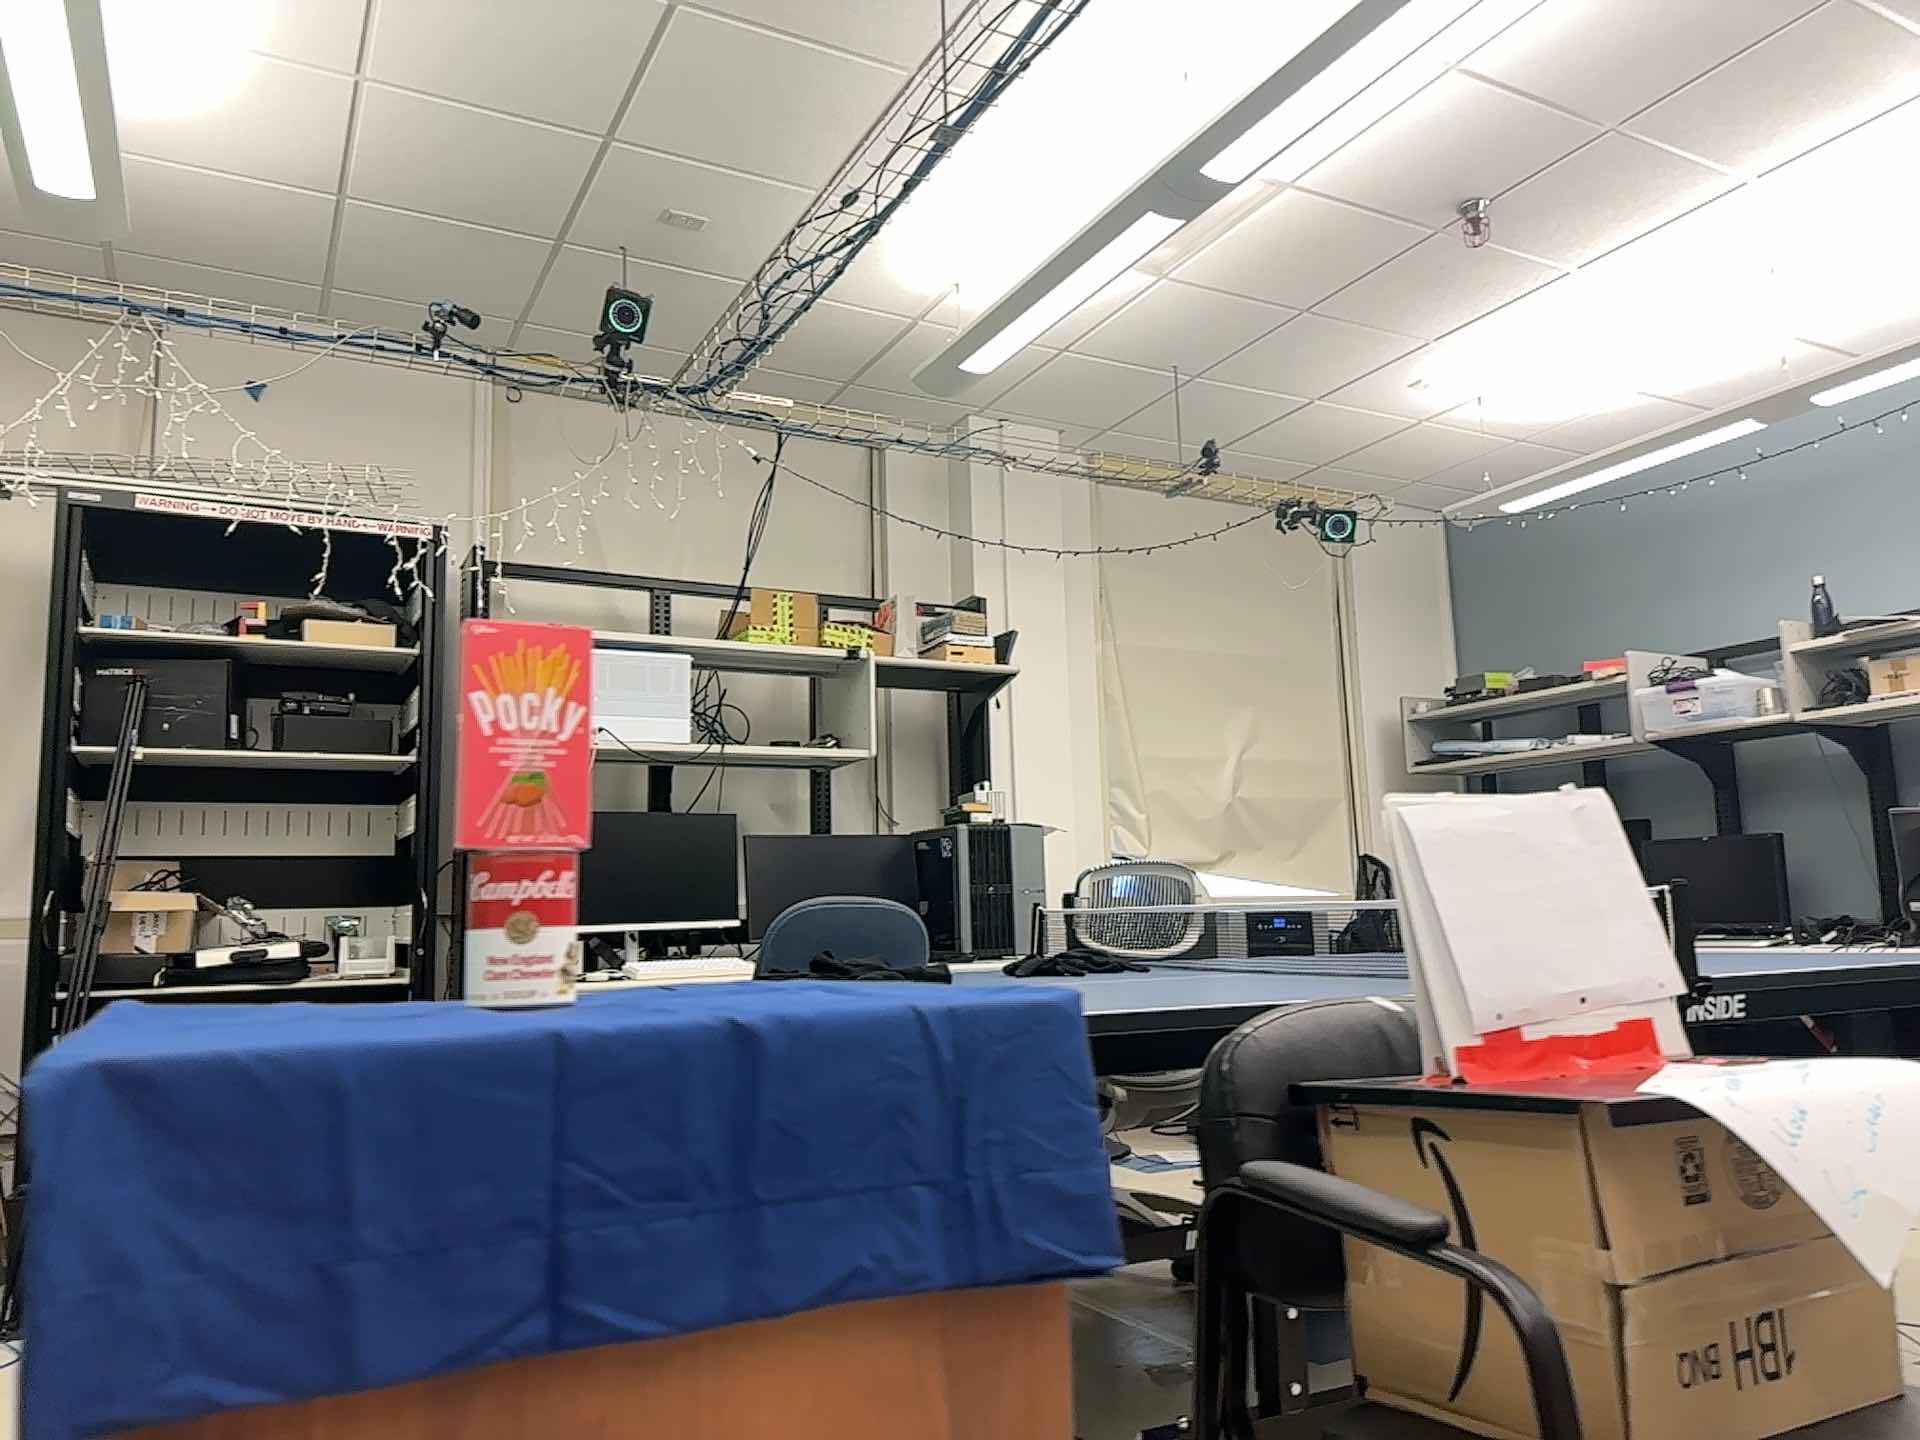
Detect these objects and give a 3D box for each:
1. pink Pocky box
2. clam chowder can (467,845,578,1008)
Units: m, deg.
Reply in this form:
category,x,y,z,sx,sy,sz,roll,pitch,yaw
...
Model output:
category,x,y,z,sx,sy,sz,roll,pitch,yaw
pink Pocky box,-0.293,0.008,0.896,0.084,0.155,0.029,1,-8,-22
clam chowder can,-0.288,0.135,0.883,0.068,0.102,0.068,-2,-8,0
